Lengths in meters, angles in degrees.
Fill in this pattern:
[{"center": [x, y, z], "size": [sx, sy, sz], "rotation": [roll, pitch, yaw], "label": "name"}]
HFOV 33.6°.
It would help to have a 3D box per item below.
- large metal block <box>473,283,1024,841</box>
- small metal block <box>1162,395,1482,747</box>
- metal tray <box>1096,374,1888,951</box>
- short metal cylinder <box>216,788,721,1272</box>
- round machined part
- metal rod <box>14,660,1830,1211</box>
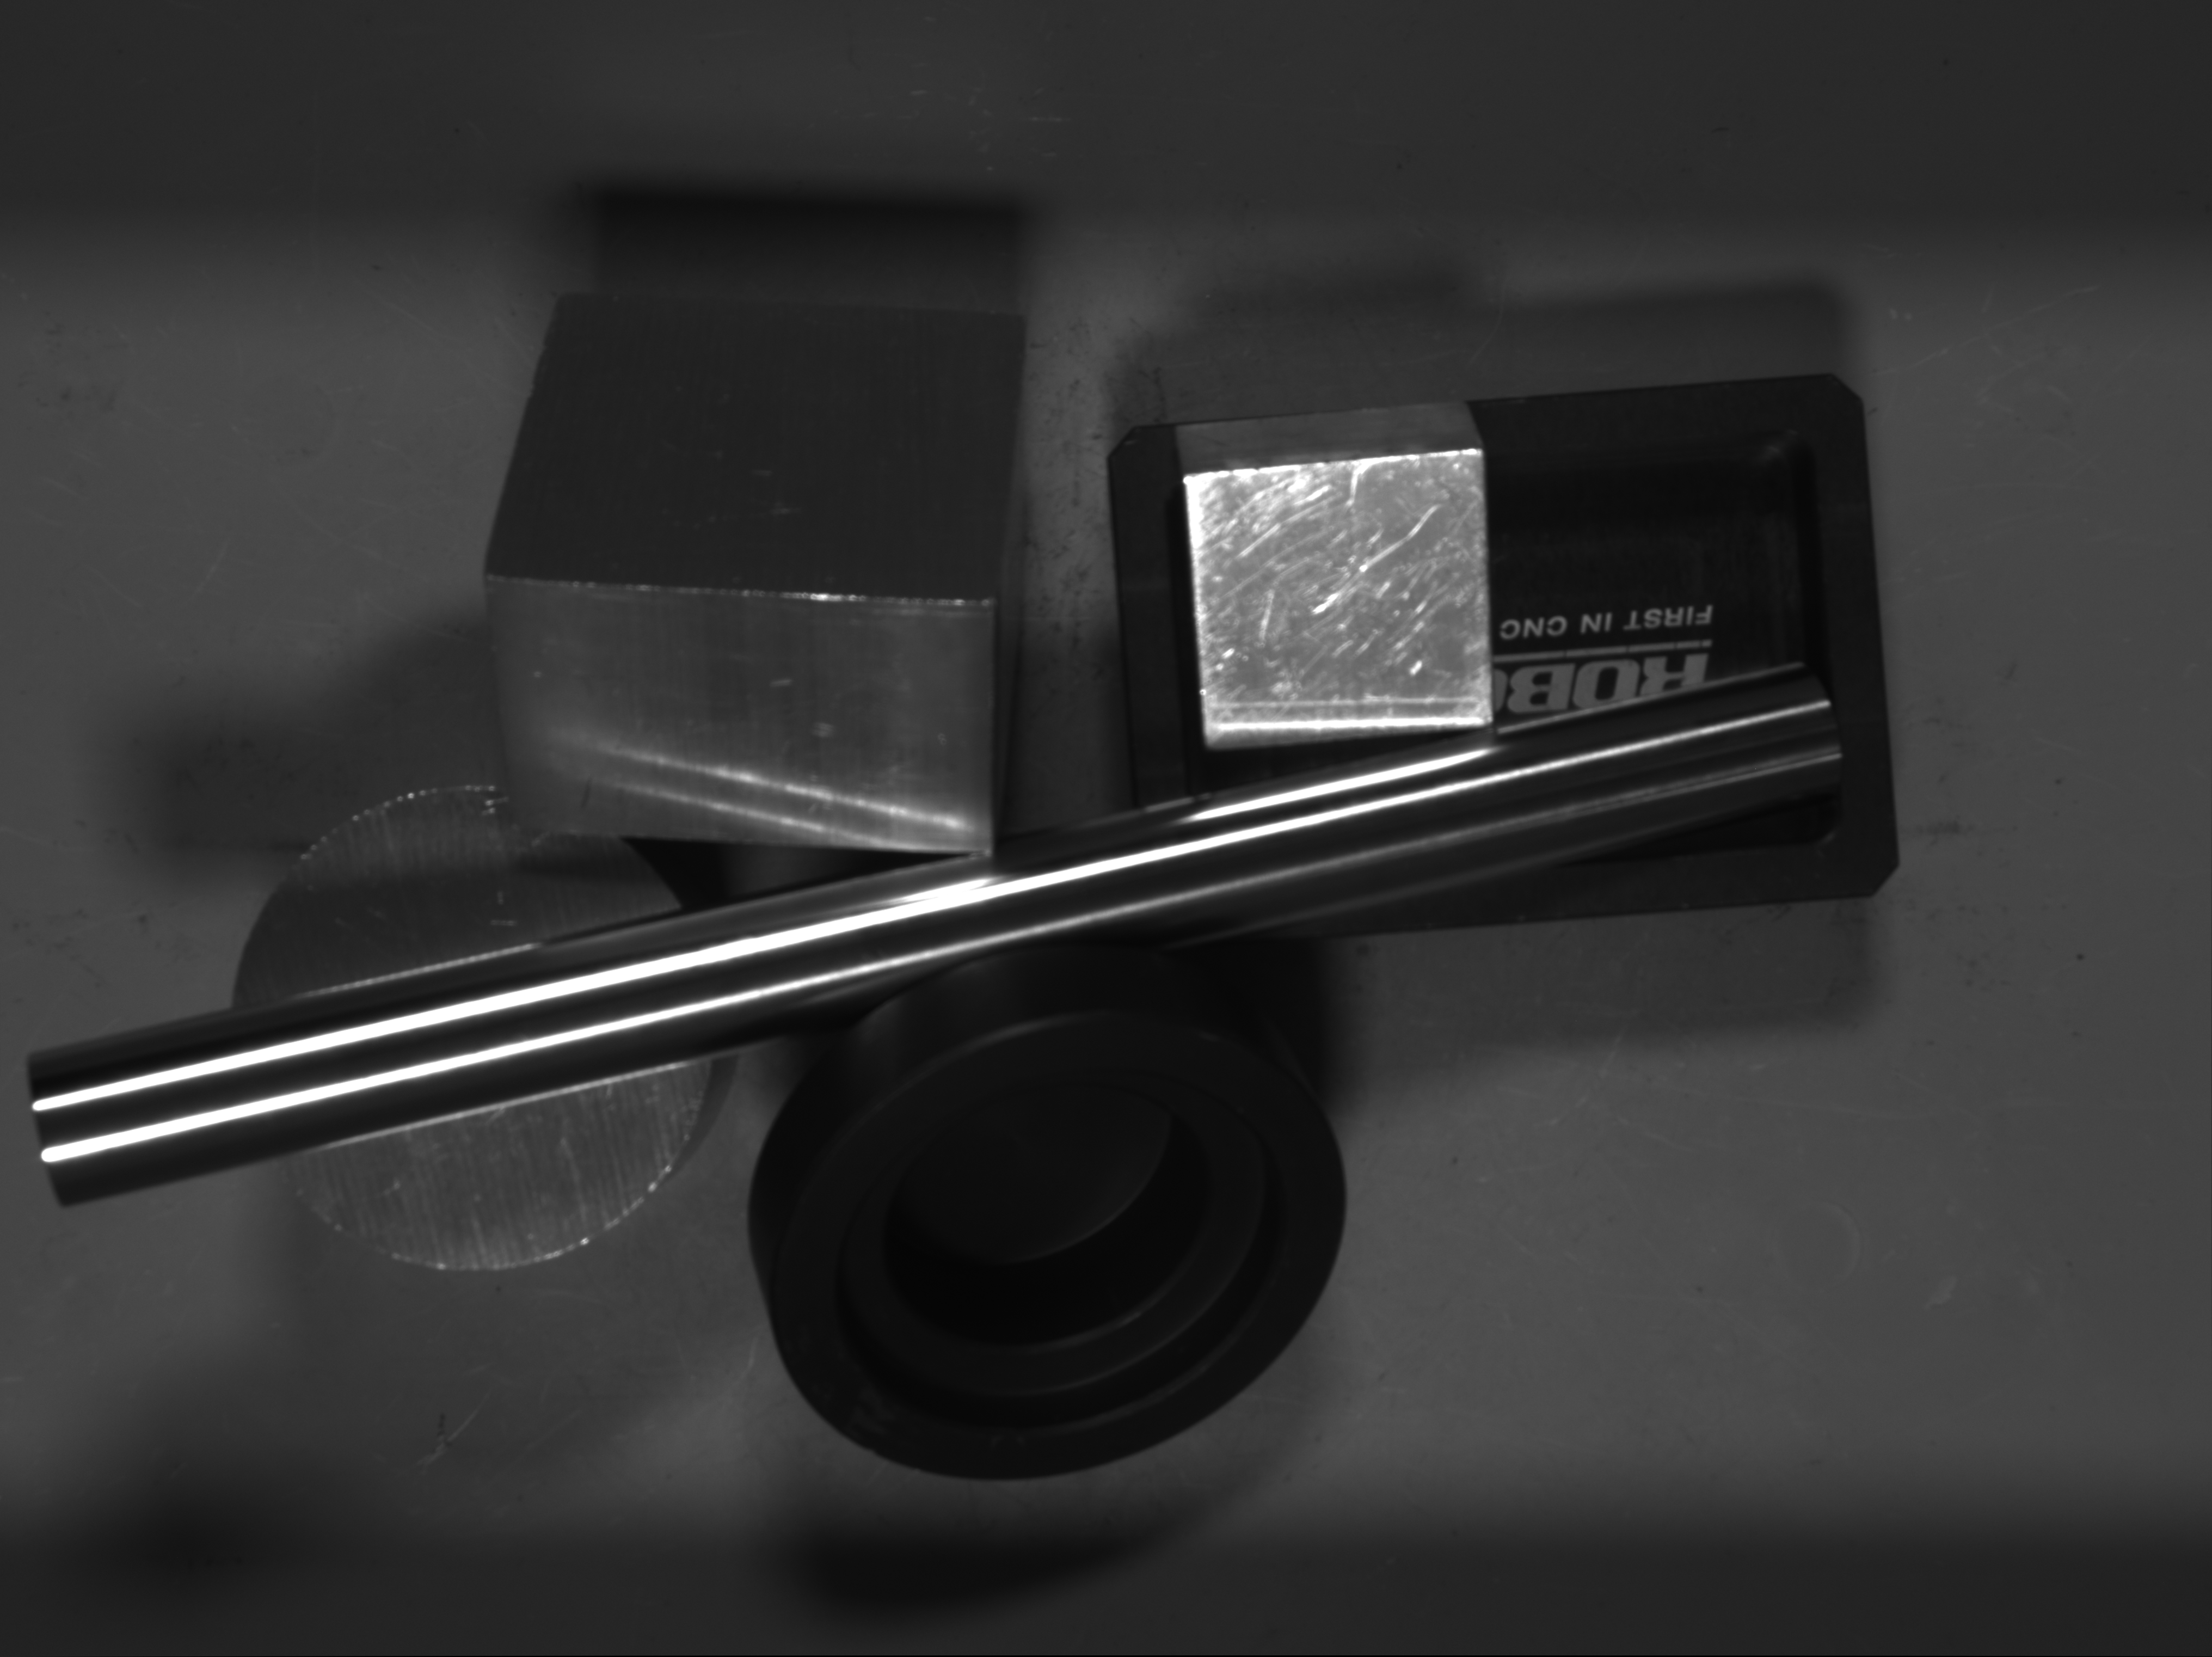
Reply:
[{"center": [-0.056, -0.045, 0.609], "size": [0.080, 0.080, 0.050], "rotation": [3, 132, 1], "label": "large metal block"}, {"center": [0.037, -0.044, 0.623], "size": [0.050, 0.025, 0.050], "rotation": [-5, 116, 0], "label": "small metal block"}, {"center": [0.066, -0.028, 0.642], "size": [0.130, 0.030, 0.090], "rotation": [-5, 90, -1], "label": "metal tray"}, {"center": [-0.107, 0.033, 0.630], "size": [0.080, 0.050, 0.080], "rotation": [0, 90, 0], "label": "short metal cylinder"}, {"center": [-0.015, 0.060, 0.619], "size": [0.098, 0.042, 0.098], "rotation": [-8, 124, -12], "label": "round machined part"}, {"center": [-0.024, 0.015, 0.602], "size": [0.300, 0.025, 0.025], "rotation": [-13, 90, -11], "label": "metal rod"}]
